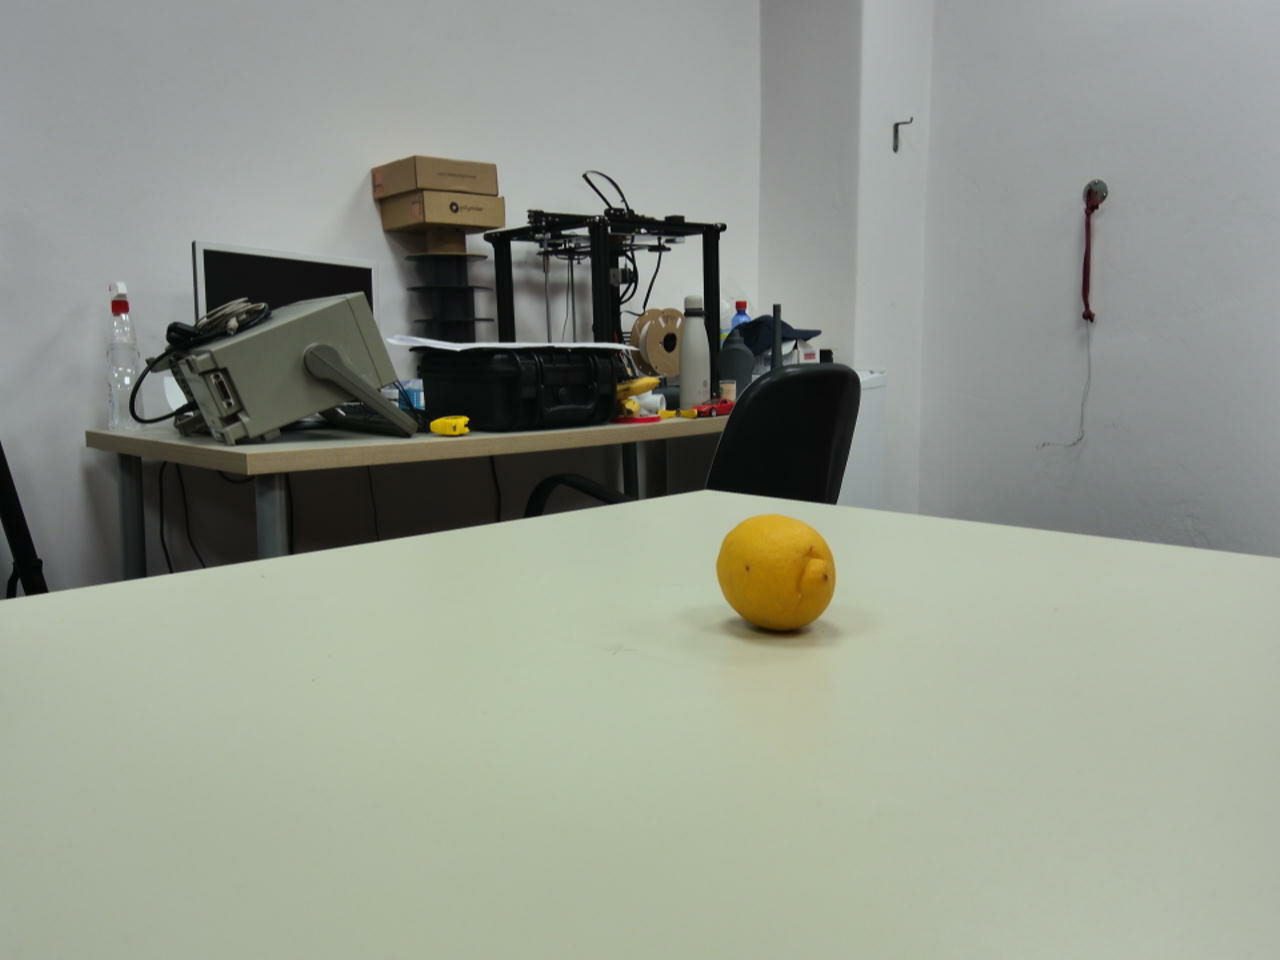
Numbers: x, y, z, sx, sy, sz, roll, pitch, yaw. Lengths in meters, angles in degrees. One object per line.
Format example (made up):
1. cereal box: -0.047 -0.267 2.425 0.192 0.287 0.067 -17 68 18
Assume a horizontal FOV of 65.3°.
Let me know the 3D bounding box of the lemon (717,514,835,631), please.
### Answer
1. lemon: 0.072 0.049 0.533 0.061 0.059 0.067 0 5 0
